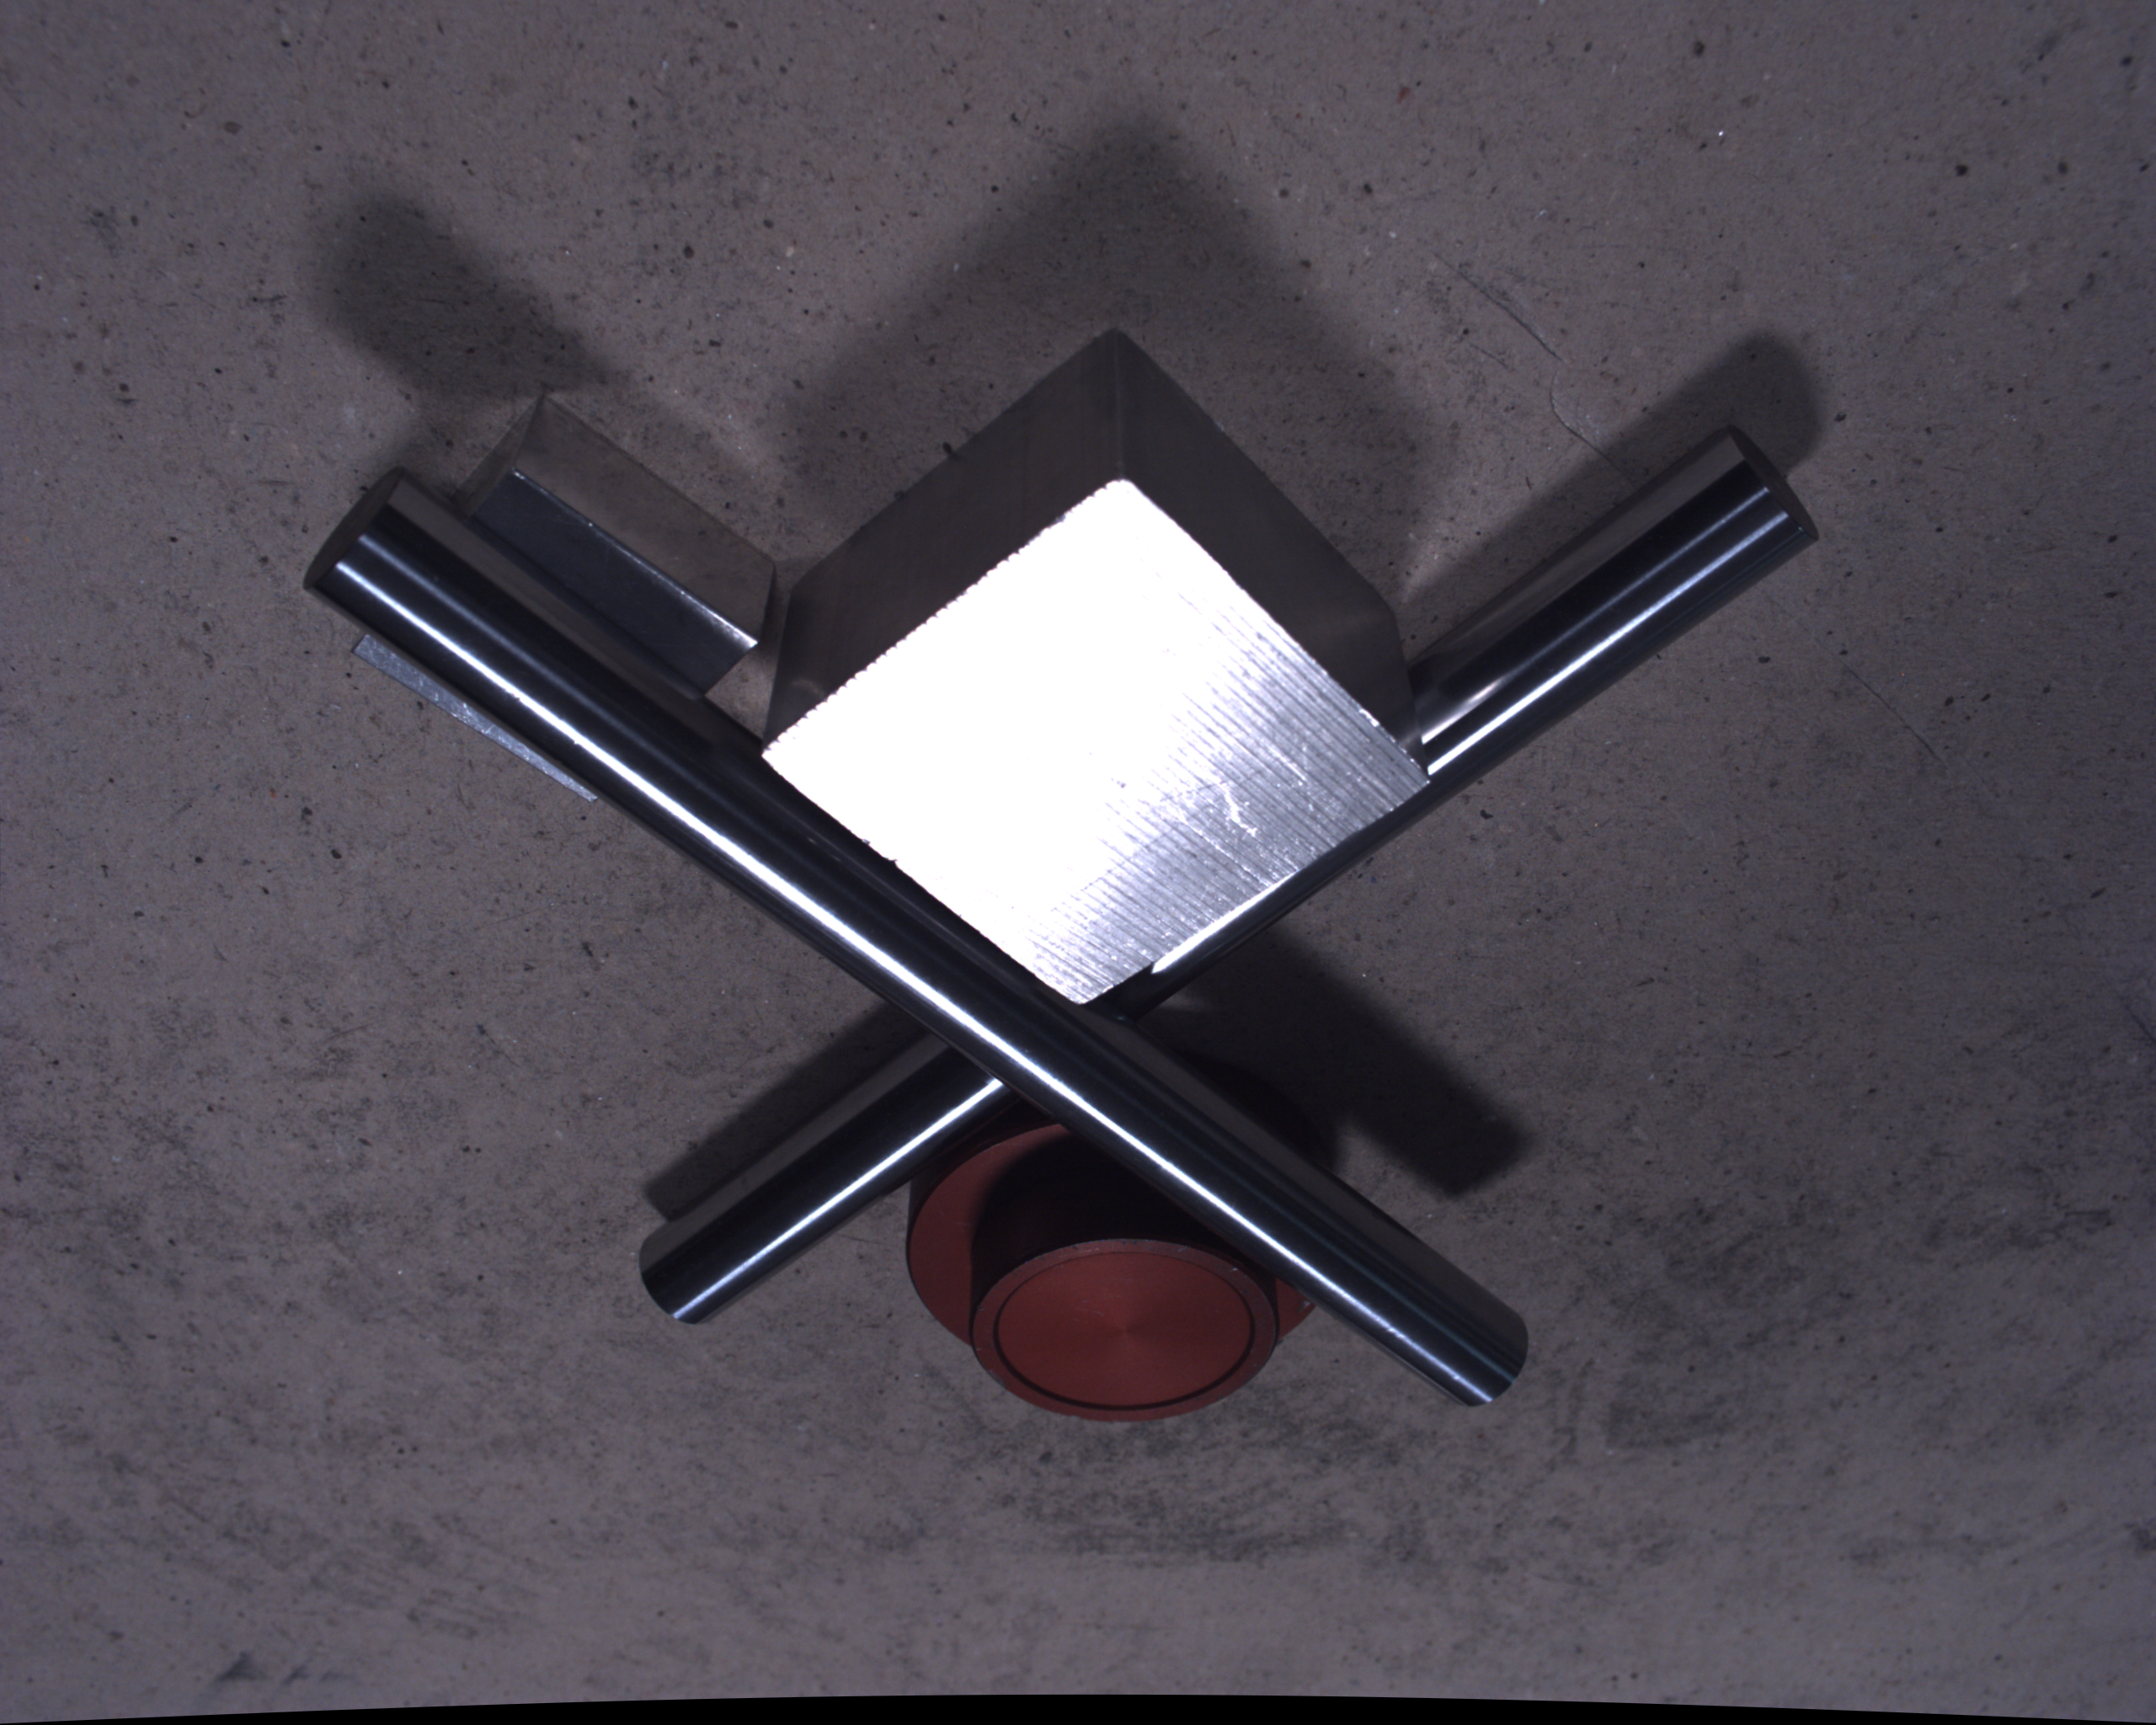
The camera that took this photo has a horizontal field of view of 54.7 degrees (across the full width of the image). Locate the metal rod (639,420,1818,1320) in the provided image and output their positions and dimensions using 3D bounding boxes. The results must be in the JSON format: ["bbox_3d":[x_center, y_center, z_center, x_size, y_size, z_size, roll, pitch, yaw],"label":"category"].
[{"bbox_3d":[0.013,0.015,0.424,0.299,0.025,0.025,-37,121,27],"label":"metal rod"}]

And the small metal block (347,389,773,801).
[{"bbox_3d":[-0.091,-0.046,0.370,0.050,0.025,0.050,35,121,-27],"label":"small metal block"}]

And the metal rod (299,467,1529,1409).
[{"bbox_3d":[-0.012,0.030,0.400,0.025,0.025,0.301,-36,122,26],"label":"metal rod"}]

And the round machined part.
[{"bbox_3d":[0.010,0.091,0.474,0.099,0.042,0.097,-1,130,0],"label":"round machined part"}]

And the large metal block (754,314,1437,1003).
[{"bbox_3d":[0.003,-0.033,0.366,0.080,0.050,0.080,-34,123,25],"label":"large metal block"}]
